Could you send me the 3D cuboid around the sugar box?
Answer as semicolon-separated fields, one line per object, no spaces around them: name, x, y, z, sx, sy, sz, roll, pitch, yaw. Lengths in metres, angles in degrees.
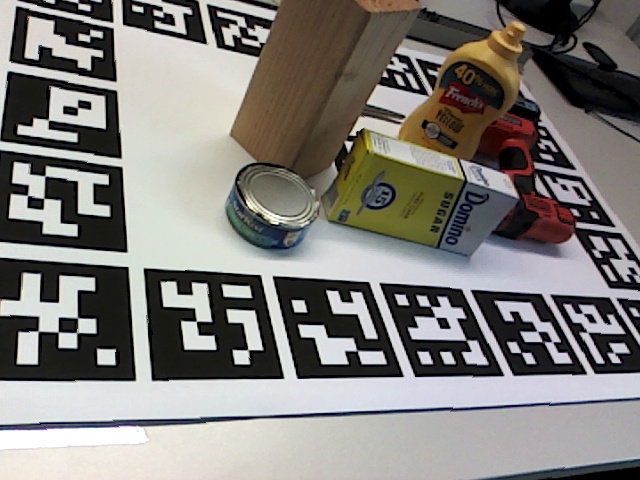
sugar box;0.113;-0.045;0.652;0.175;0.093;0.045;15;42;-20

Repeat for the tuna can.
tuna can;-0.041;-0.036;0.590;0.085;0.034;0.086;16;45;-18

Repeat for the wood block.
wood block;-0.001;-0.162;0.623;0.090;0.206;0.090;-25;68;-42

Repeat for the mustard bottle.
mustard bottle;0.182;-0.172;0.747;0.096;0.192;0.058;41;44;8

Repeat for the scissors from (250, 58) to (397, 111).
scissors;0.013;-0.182;0.774;0.201;0.016;0.088;6;44;-25

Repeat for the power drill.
power drill;0.212;-0.093;0.778;0.184;0.057;0.187;15;52;-17
